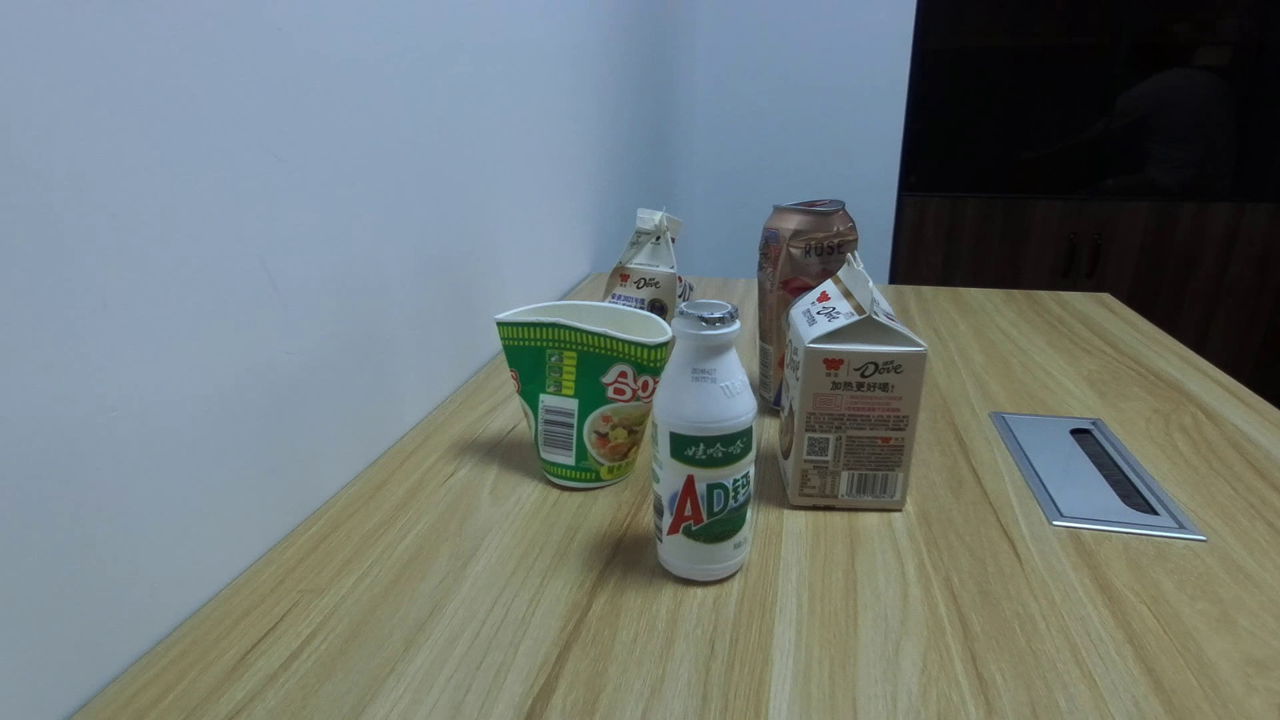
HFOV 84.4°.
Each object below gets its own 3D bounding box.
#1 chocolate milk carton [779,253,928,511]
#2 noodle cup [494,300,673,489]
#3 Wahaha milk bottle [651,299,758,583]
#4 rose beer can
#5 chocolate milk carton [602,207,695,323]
[{"bbox_3d":[0.131,0.011,0.444,0.074,0.148,0.075,1,21,2],"label":"chocolate milk carton"},{"bbox_3d":[-0.035,0.022,0.473,0.070,0.111,0.114,-21,30,-38],"label":"noodle cup"},{"bbox_3d":[0.034,0.042,0.369,0.056,0.148,0.056,-2,21,1],"label":"Wahaha milk bottle"},{"bbox_3d":[0.130,-0.037,0.555,0.076,0.167,0.065,-4,8,-13],"label":"rose beer can"},{"bbox_3d":[0.013,-0.062,0.633,0.073,0.155,0.076,10,23,21],"label":"chocolate milk carton"}]
